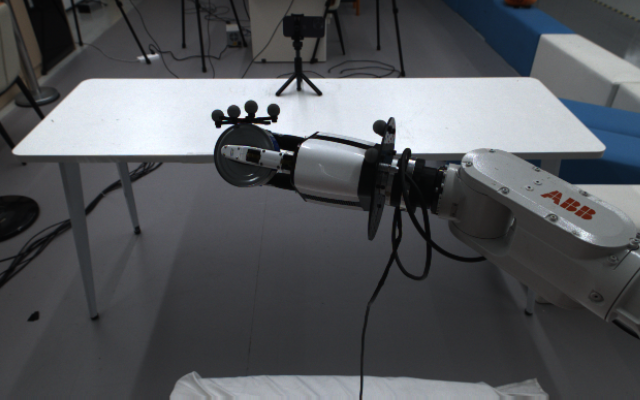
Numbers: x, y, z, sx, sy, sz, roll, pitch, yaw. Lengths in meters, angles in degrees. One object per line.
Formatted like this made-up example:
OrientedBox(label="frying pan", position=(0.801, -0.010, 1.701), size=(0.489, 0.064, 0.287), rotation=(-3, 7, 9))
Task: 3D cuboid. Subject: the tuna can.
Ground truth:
OrientedBox(label="tuna can", position=(-0.094, -0.059, 0.656), size=(0.085, 0.085, 0.034), rotation=(10, 2, 11))
